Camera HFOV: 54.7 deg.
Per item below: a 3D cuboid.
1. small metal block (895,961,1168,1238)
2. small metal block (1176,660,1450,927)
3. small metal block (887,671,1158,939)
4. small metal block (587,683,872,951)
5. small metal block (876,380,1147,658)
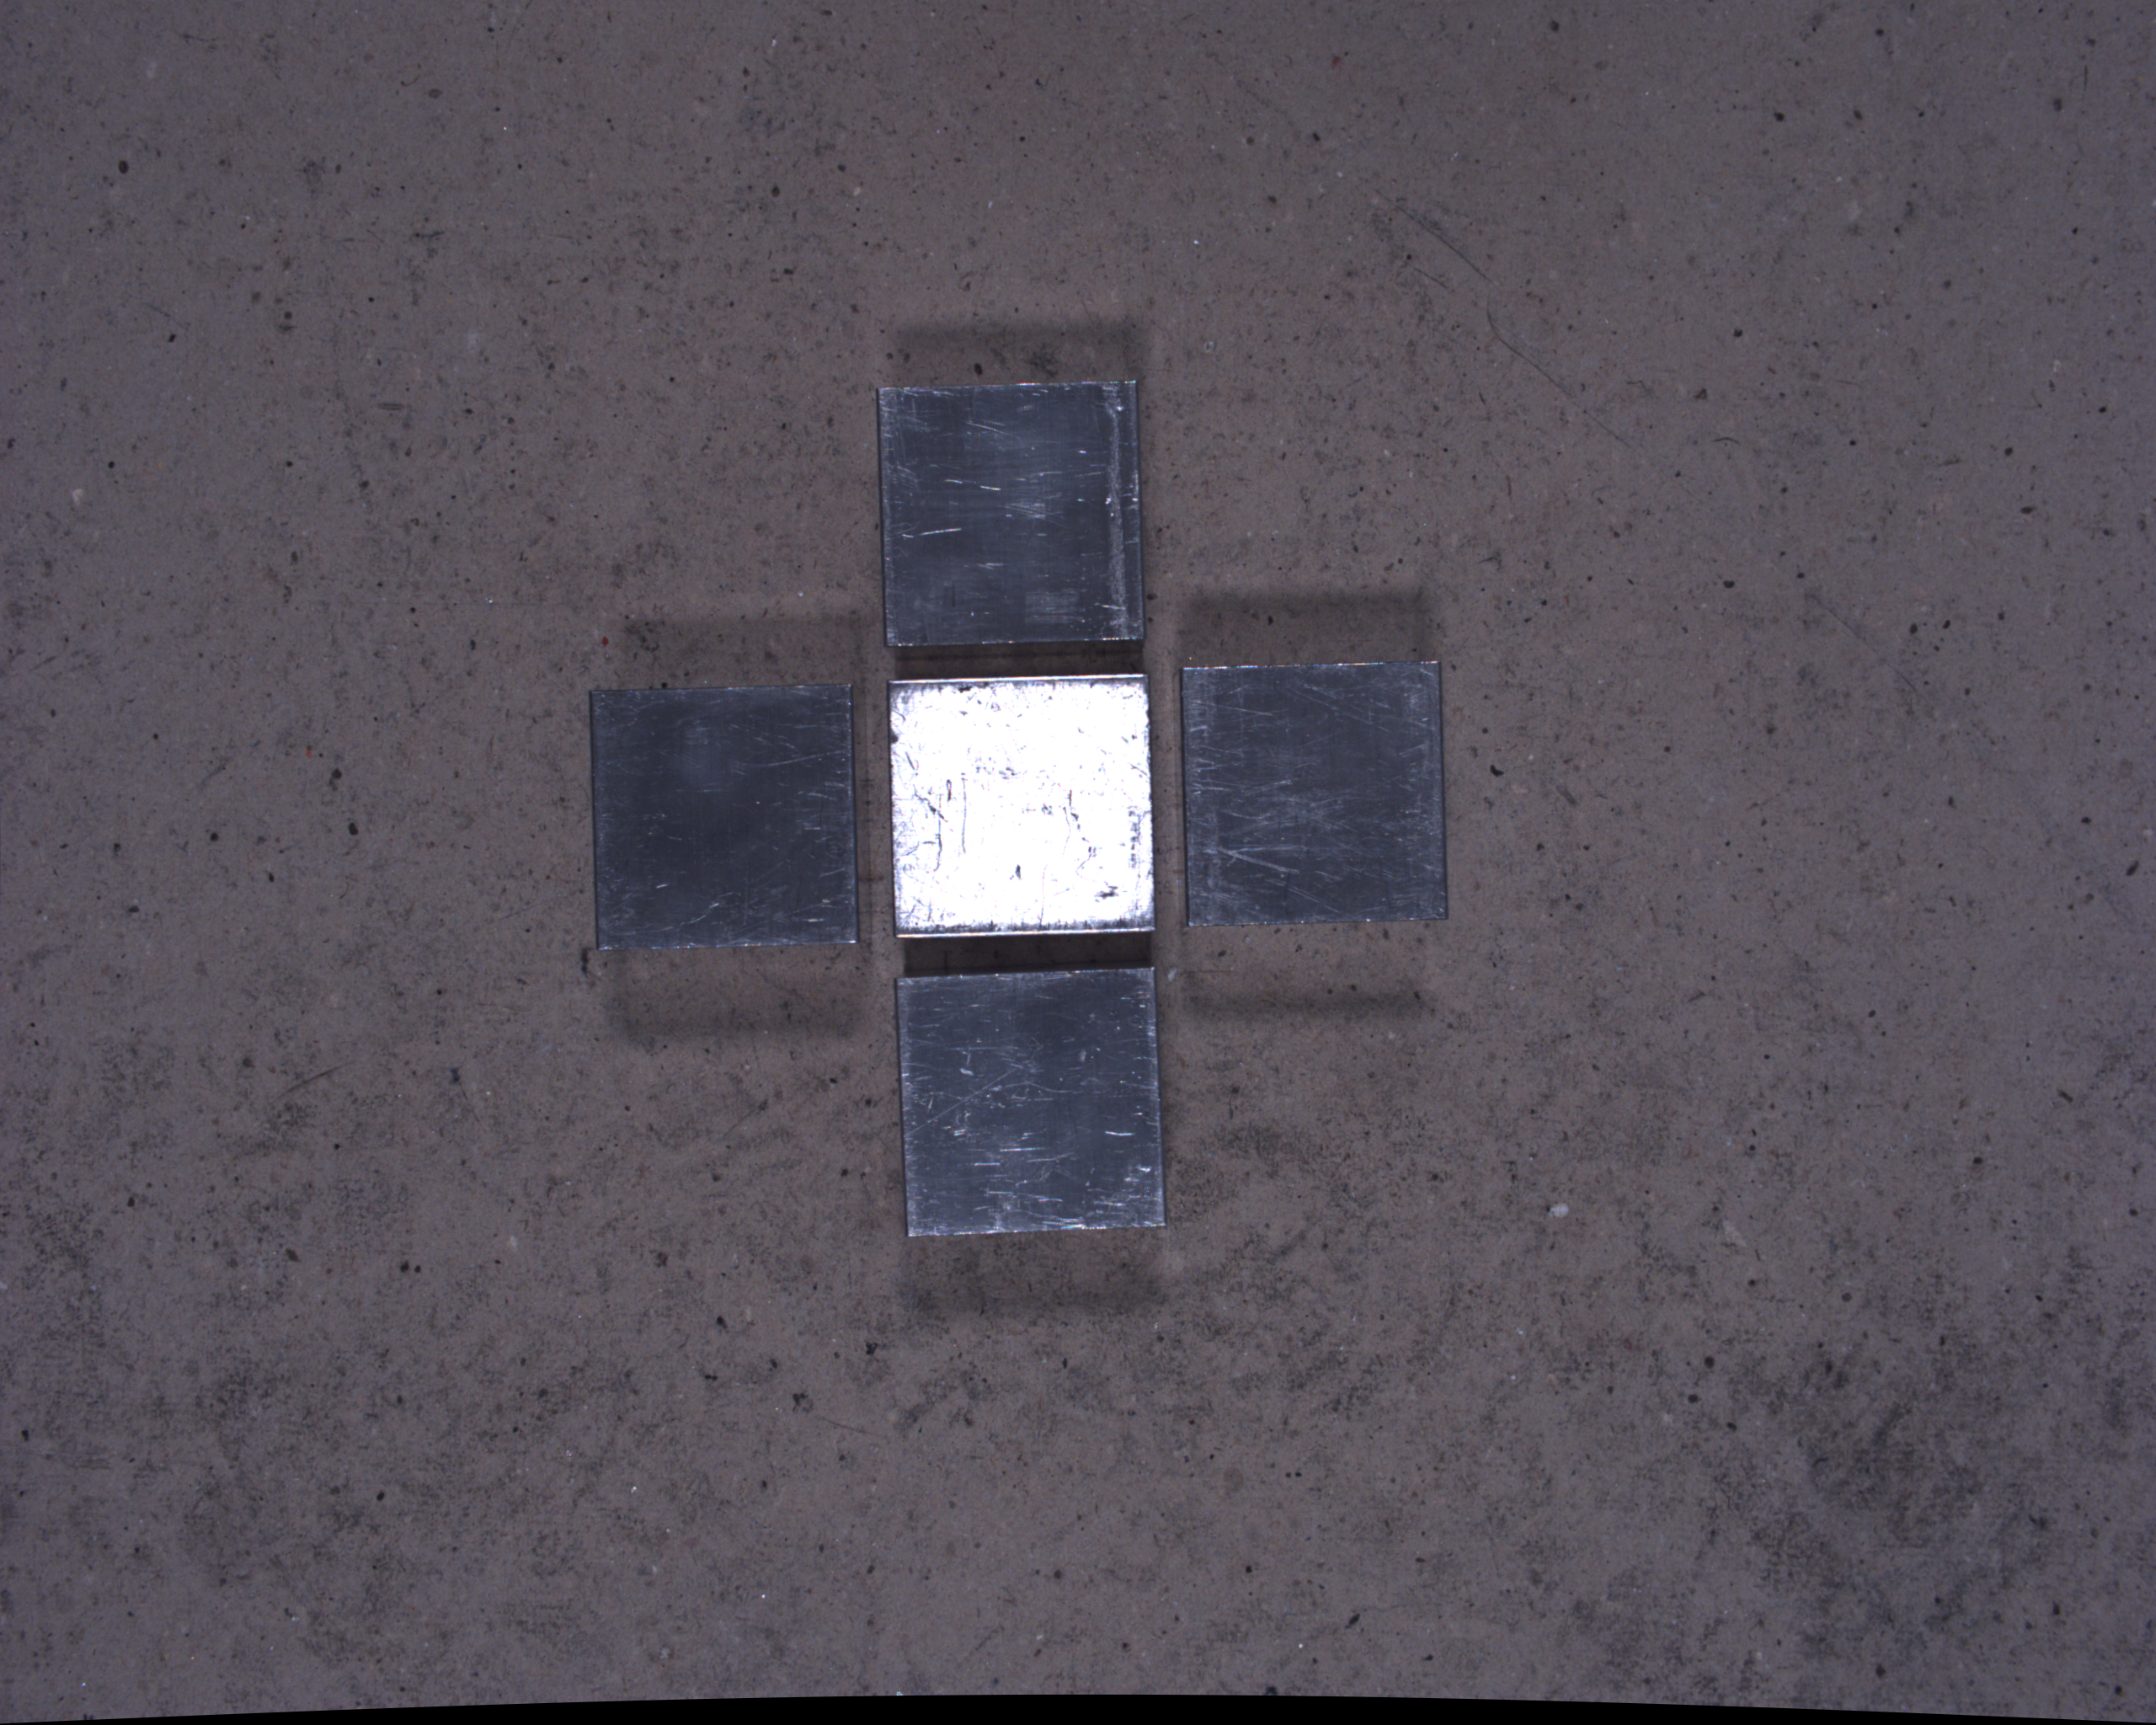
[{"bbox_3d":[-0.009,0.046,0.411,0.050,0.025,0.050,-2,90,-1],"label":"small metal block"},{"bbox_3d":[0.045,-0.013,0.412,0.050,0.025,0.050,-2,90,-1],"label":"small metal block"},{"bbox_3d":[-0.011,-0.011,0.411,0.050,0.025,0.050,-2,90,-1],"label":"small metal block"},{"bbox_3d":[-0.068,-0.009,0.410,0.050,0.025,0.050,-2,90,-1],"label":"small metal block"},{"bbox_3d":[-0.013,-0.067,0.411,0.050,0.025,0.050,-2,90,-1],"label":"small metal block"}]
